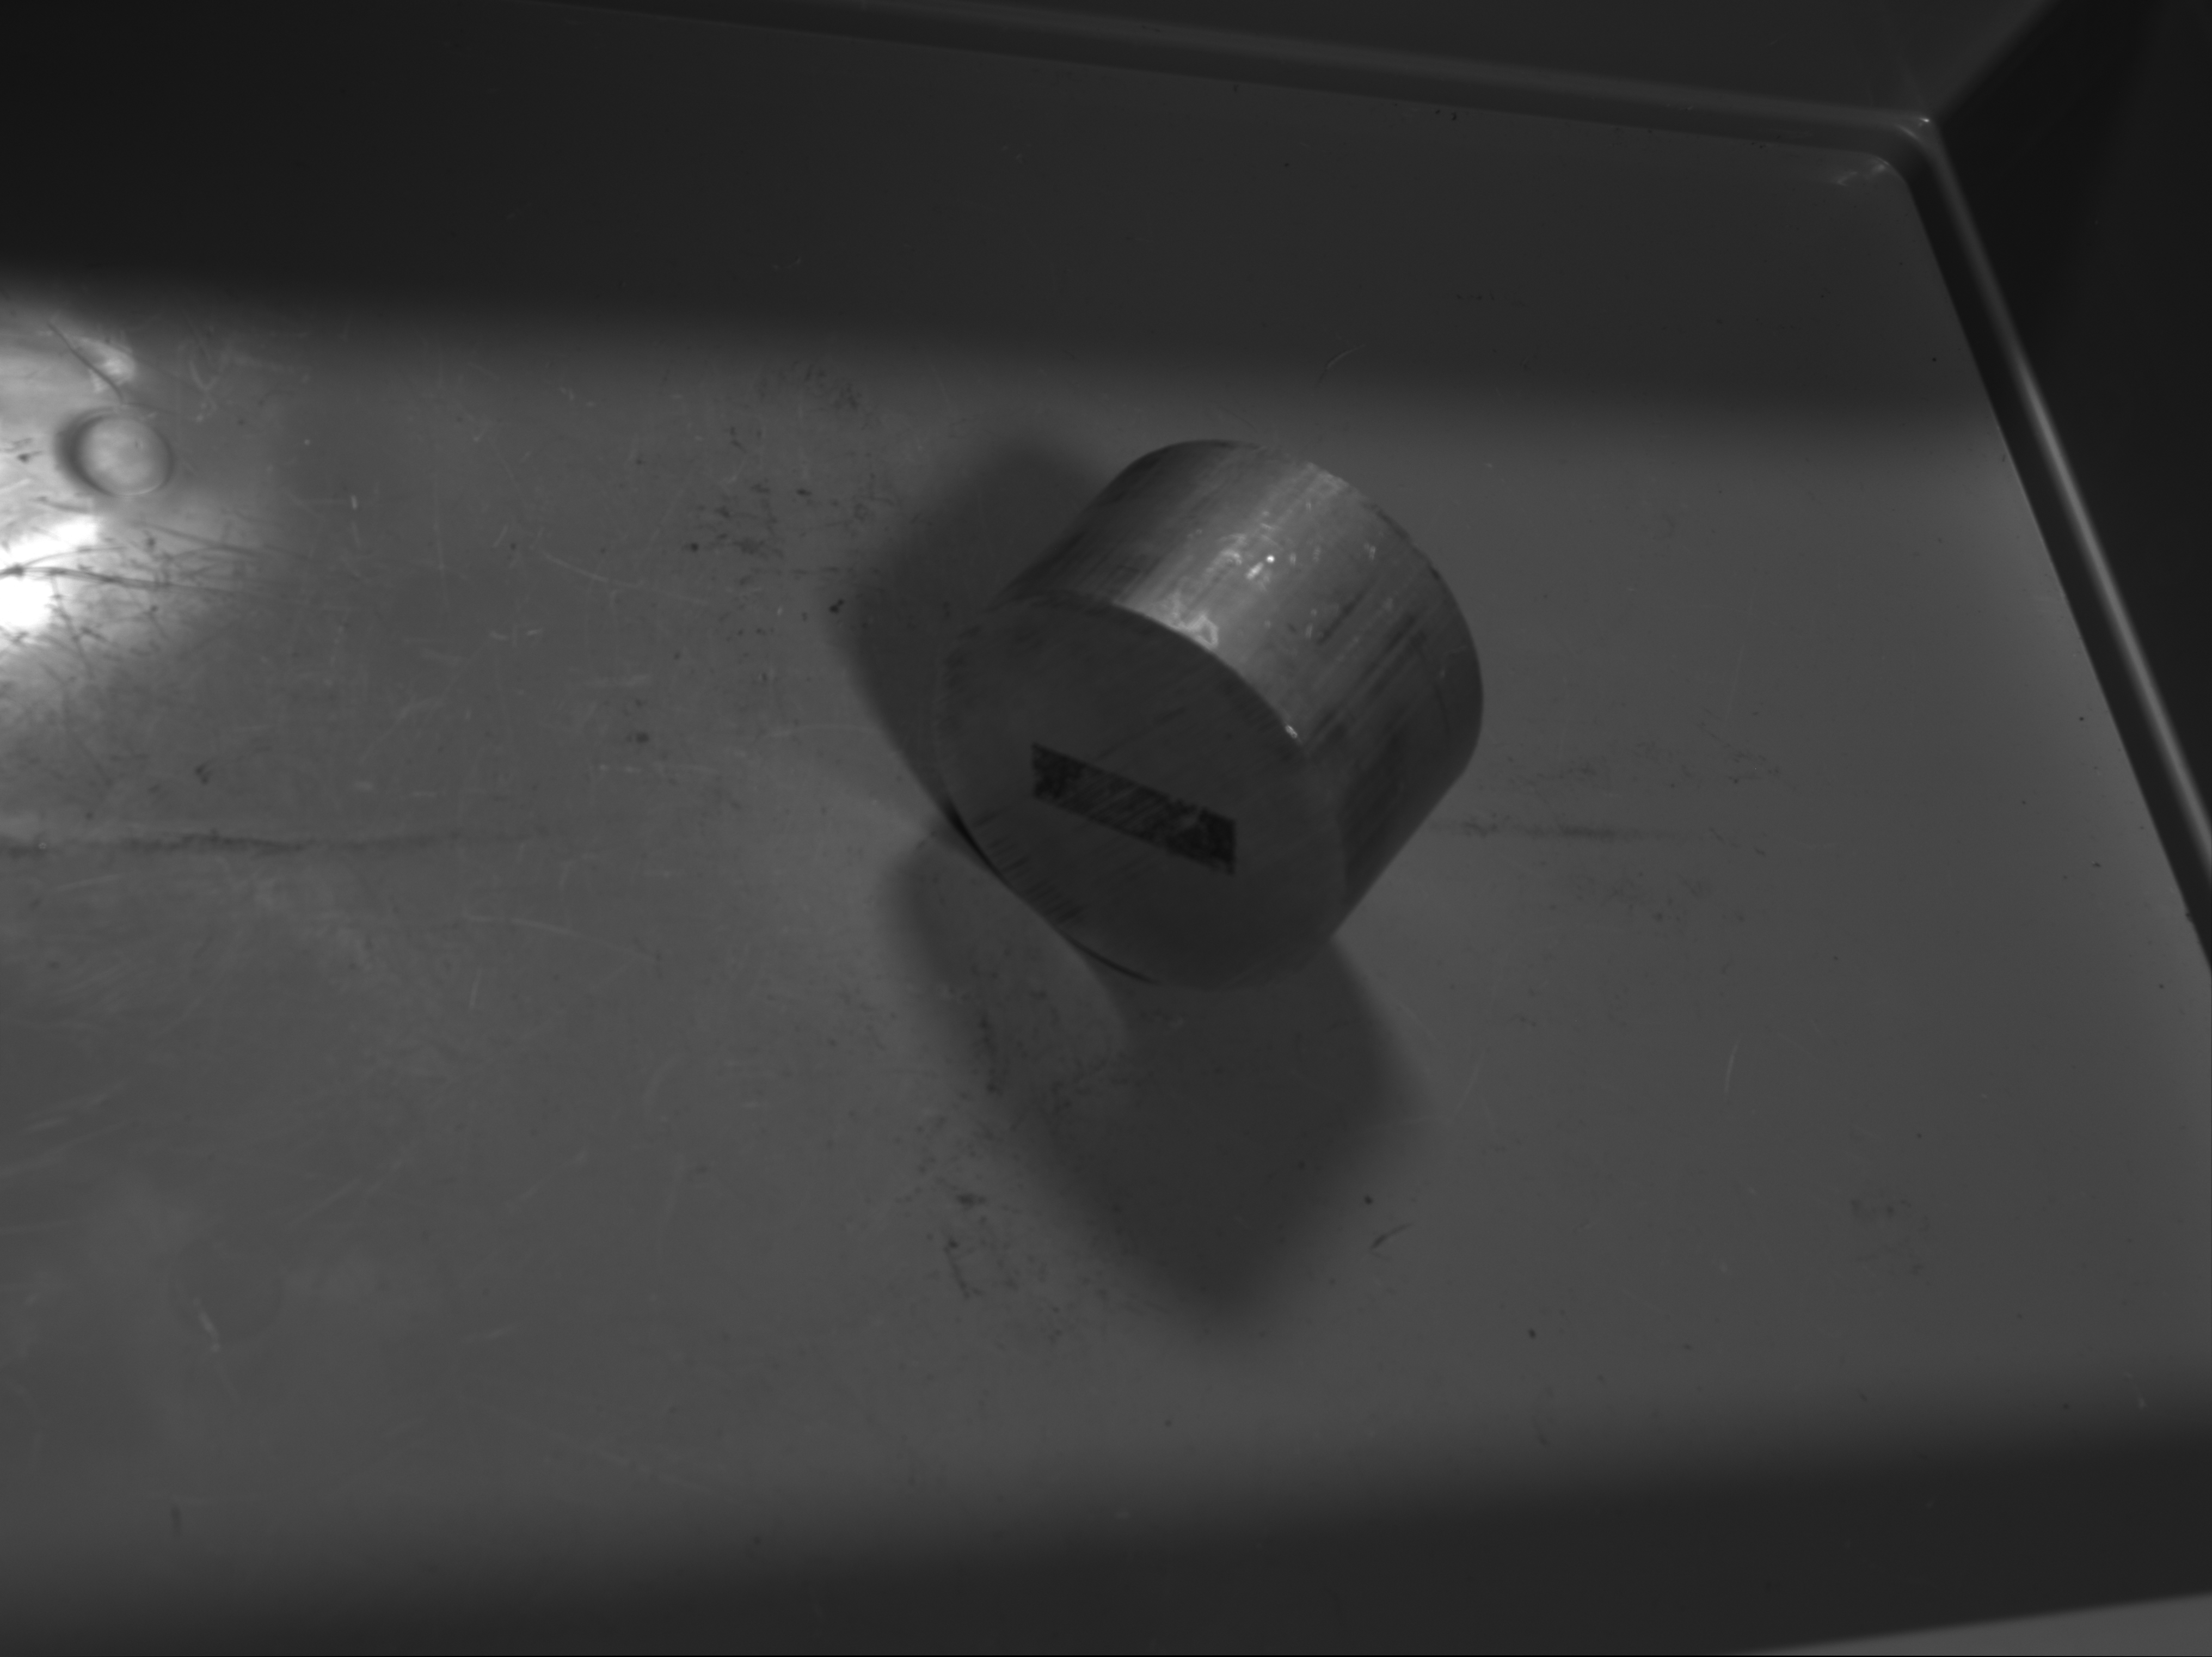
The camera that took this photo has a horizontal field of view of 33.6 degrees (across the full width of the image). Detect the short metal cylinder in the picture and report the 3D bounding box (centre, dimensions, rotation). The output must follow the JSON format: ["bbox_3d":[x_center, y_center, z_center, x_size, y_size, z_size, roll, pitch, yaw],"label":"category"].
[{"bbox_3d":[0.020,-0.019,0.624,0.080,0.080,0.050,41,51,0],"label":"short metal cylinder"}]
